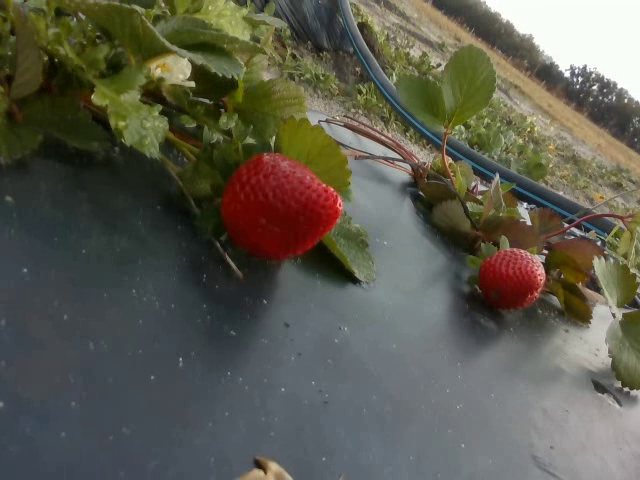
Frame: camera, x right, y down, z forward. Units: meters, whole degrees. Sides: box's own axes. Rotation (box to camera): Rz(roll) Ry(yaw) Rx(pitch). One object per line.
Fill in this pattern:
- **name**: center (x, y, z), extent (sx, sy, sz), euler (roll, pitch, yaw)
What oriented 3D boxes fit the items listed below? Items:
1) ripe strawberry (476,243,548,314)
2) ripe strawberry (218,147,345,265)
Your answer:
- **ripe strawberry**: center (0.104, 0.022, 0.311), extent (0.041, 0.045, 0.052), euler (-26, 3, -4)
- **ripe strawberry**: center (-0.011, -0.012, 0.208), extent (0.050, 0.051, 0.046), euler (-11, 36, 55)
